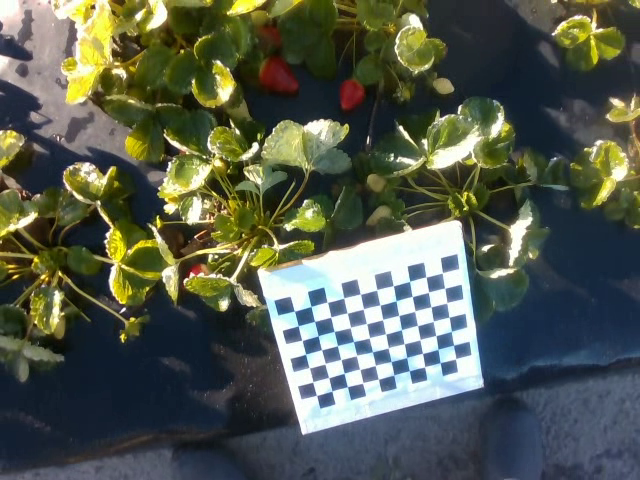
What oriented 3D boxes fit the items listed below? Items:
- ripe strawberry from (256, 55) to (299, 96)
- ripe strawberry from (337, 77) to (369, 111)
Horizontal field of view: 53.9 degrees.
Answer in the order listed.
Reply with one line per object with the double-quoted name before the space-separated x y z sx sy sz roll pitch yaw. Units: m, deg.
"ripe strawberry" -0.051 -0.208 0.795 0.056 0.044 0.040 35 6 -17
"ripe strawberry" 0.041 -0.186 0.802 0.039 0.047 0.040 24 -2 -15
